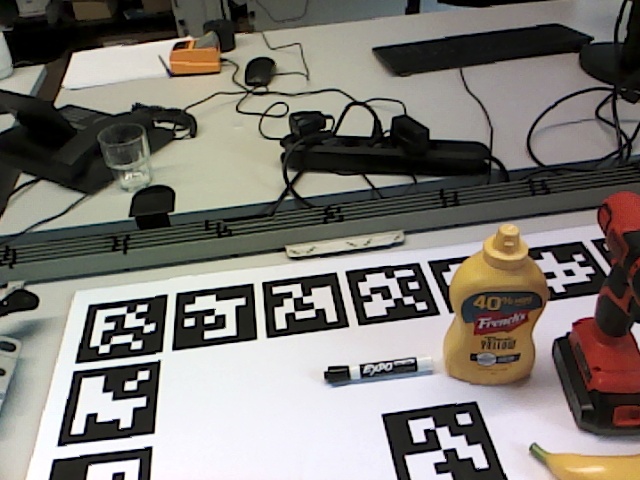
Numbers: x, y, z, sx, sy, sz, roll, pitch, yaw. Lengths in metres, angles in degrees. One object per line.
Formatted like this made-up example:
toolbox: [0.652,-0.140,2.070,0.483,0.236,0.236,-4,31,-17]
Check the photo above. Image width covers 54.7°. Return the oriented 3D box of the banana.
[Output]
banana: [0.290,0.230,0.590,0.197,0.039,0.074,-3,41,5]

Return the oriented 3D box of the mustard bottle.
mustard bottle: [0.174,0.084,0.654,0.096,0.191,0.058,1,40,5]

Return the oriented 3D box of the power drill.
power drill: [0.285,0.100,0.597,0.057,0.186,0.185,3,38,6]

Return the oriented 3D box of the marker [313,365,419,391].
marker: [0.052,0.159,0.710,0.121,0.019,0.020,-5,40,-1]
